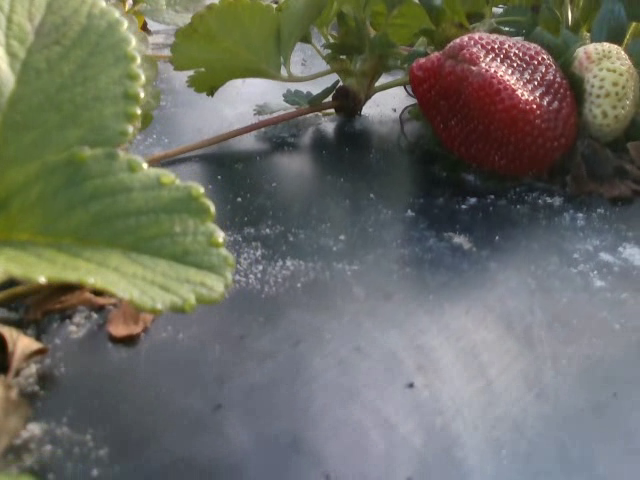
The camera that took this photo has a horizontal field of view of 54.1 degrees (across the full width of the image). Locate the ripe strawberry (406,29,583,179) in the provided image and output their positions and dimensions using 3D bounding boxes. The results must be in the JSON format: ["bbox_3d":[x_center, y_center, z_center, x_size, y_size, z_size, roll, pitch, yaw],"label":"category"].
[{"bbox_3d":[0.060,-0.049,0.219,0.057,0.058,0.070,-34,-39,31],"label":"ripe strawberry"}]
